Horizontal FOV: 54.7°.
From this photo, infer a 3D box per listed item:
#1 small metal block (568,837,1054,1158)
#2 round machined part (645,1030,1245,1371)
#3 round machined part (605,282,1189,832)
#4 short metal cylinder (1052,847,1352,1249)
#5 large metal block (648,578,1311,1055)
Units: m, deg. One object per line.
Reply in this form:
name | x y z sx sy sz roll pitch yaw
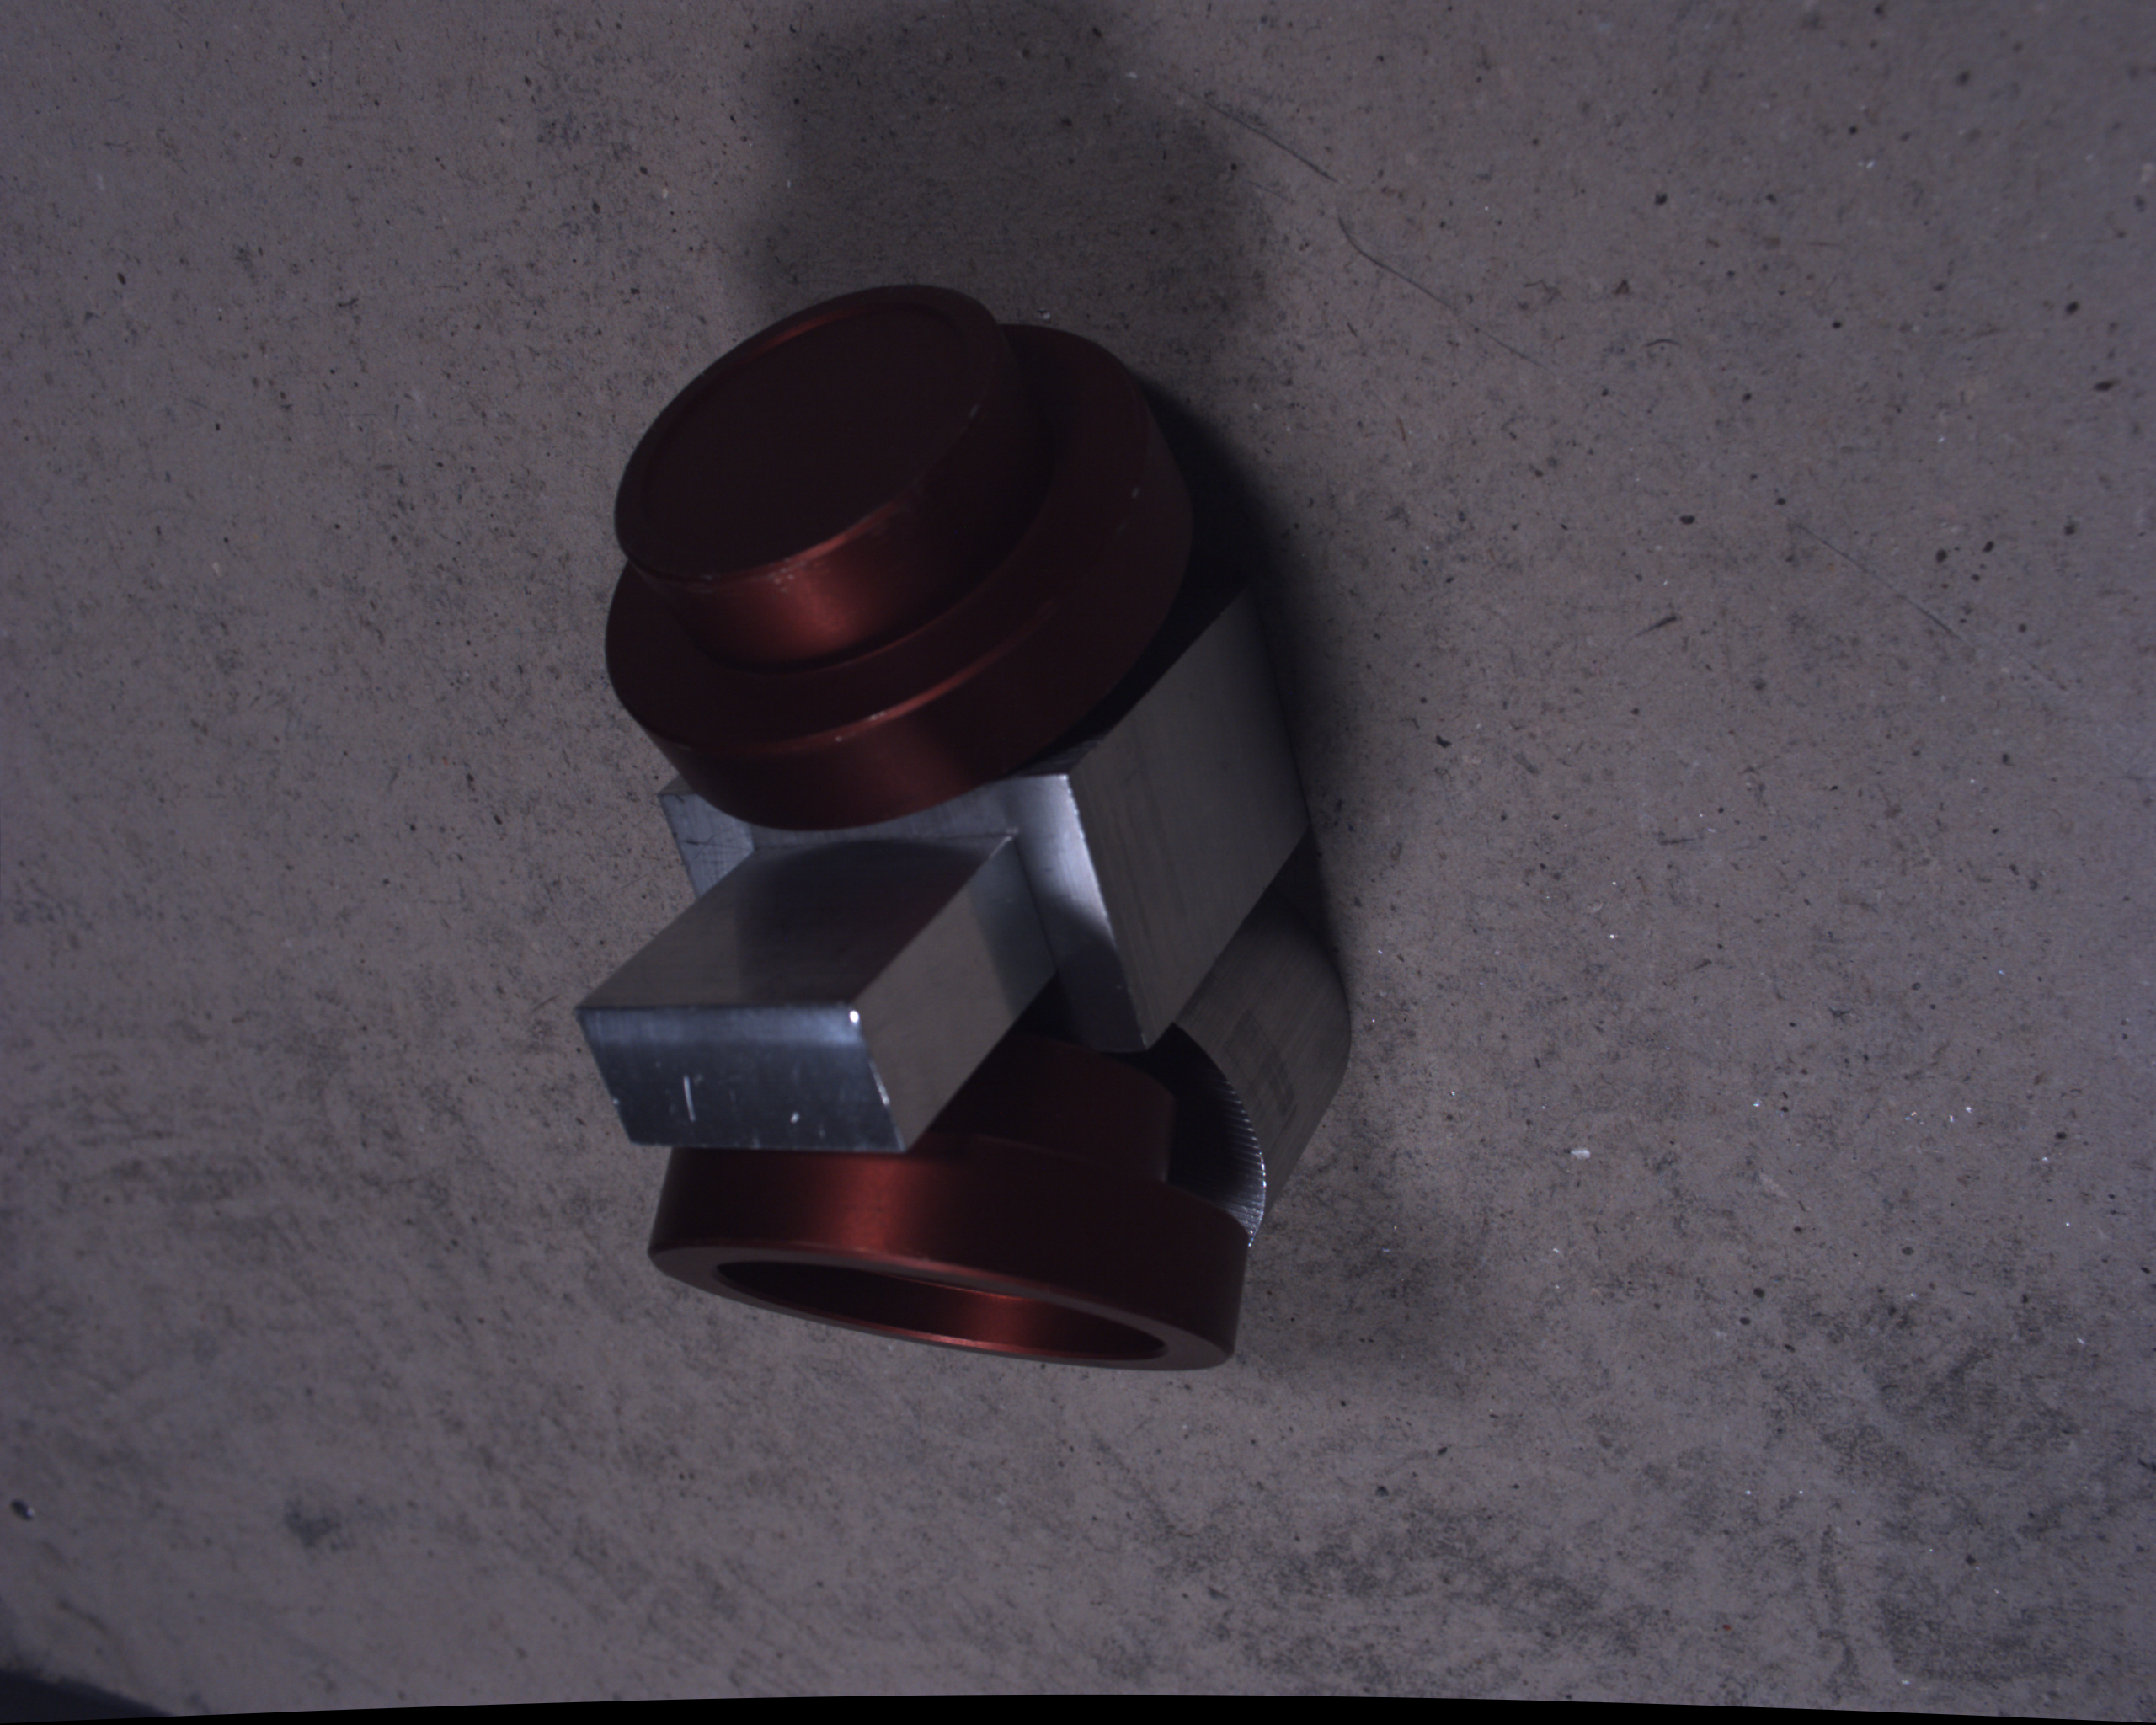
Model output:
small metal block | -0.040 0.020 0.319 0.050 0.050 0.025 -2 117 29
round machined part | -0.020 0.056 0.356 0.099 0.042 0.098 9 159 4
round machined part | -0.035 -0.056 0.339 0.098 0.098 0.042 -2 142 29
short metal cylinder | 0.008 0.040 0.413 0.080 0.050 0.079 13 124 20
large metal block | -0.014 -0.009 0.372 0.080 0.080 0.050 -2 118 29
